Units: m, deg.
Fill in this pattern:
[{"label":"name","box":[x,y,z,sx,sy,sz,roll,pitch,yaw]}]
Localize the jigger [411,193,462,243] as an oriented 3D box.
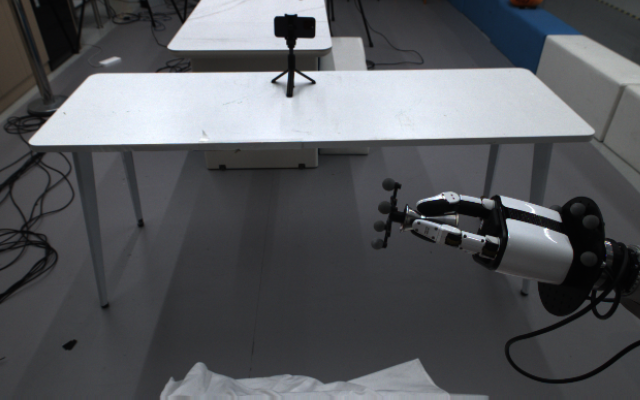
[{"label":"jigger","box":[0.150,0.028,0.645,0.071,0.043,0.043,12,35,4]}]
